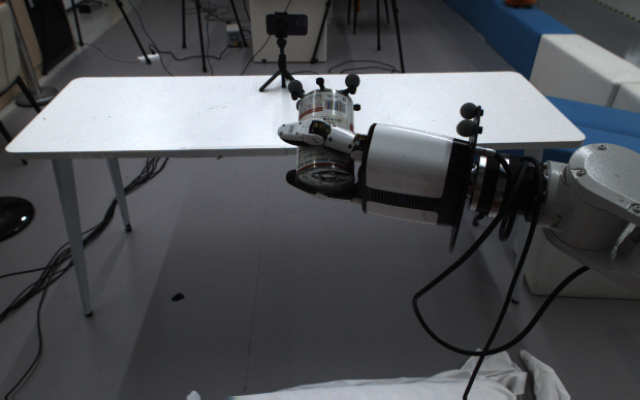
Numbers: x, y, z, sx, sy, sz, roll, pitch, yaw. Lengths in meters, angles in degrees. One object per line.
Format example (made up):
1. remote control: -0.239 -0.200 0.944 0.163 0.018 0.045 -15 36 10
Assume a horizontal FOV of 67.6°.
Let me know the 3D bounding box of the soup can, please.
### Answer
1. soup can: 0.008 -0.068 0.561 0.067 0.067 0.101 2 68 -1
